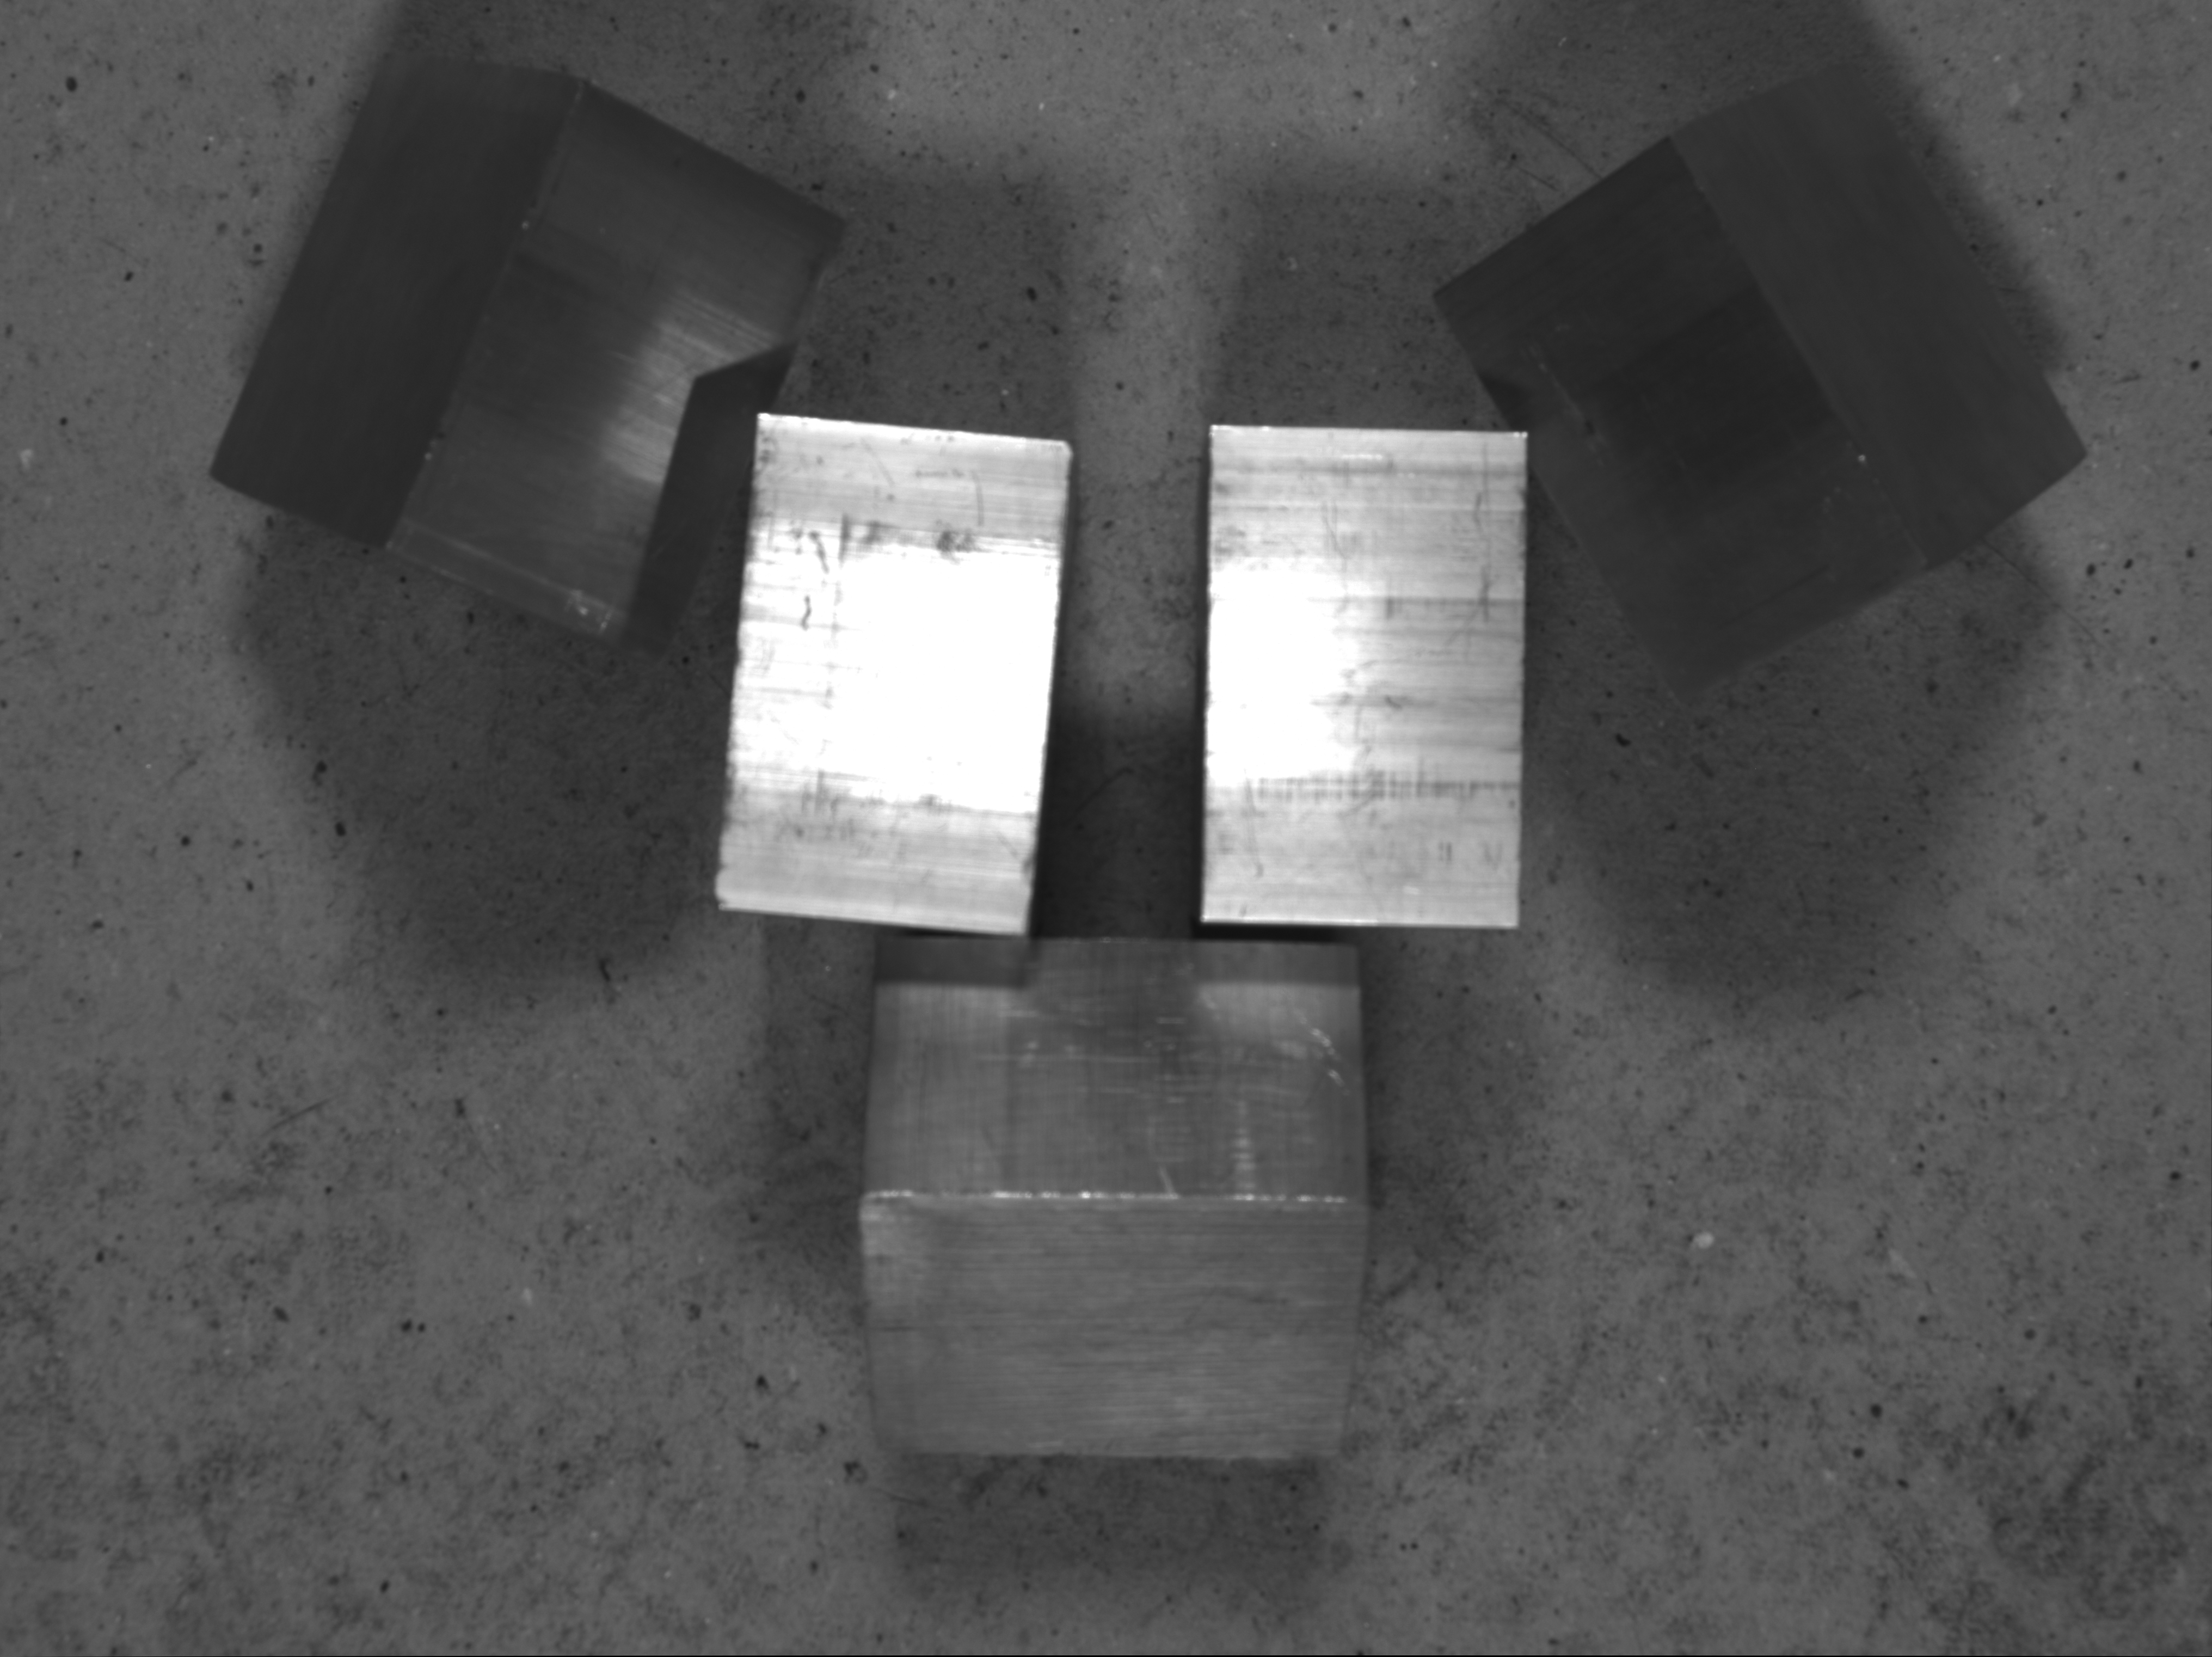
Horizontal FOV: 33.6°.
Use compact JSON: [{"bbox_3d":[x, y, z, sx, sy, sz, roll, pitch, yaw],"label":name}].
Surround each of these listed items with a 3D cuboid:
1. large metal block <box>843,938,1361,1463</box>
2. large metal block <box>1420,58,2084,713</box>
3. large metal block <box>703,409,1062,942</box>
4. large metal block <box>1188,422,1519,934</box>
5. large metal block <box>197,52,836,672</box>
[{"bbox_3d":[-0.001,0.063,0.612,0.080,0.080,0.050,1,51,0],"label":"large metal block"},{"bbox_3d":[0.110,-0.076,0.613,0.050,0.080,0.080,-31,90,37],"label":"large metal block"},{"bbox_3d":[-0.035,-0.024,0.618,0.050,0.080,0.080,5,90,0],"label":"large metal block"},{"bbox_3d":[0.040,-0.024,0.618,0.050,0.080,0.080,1,90,0],"label":"large metal block"},{"bbox_3d":[-0.099,-0.079,0.608,0.050,0.080,0.080,23,90,-36],"label":"large metal block"}]
